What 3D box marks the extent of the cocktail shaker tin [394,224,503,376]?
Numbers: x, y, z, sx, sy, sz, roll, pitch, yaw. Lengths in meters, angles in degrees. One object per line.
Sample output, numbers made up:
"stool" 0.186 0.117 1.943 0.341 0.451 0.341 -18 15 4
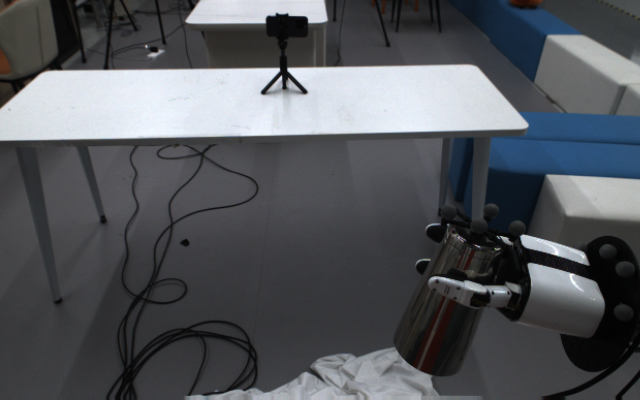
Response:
"cocktail shaker tin" 0.161 0.110 0.583 0.093 0.170 0.093 12 25 -6
